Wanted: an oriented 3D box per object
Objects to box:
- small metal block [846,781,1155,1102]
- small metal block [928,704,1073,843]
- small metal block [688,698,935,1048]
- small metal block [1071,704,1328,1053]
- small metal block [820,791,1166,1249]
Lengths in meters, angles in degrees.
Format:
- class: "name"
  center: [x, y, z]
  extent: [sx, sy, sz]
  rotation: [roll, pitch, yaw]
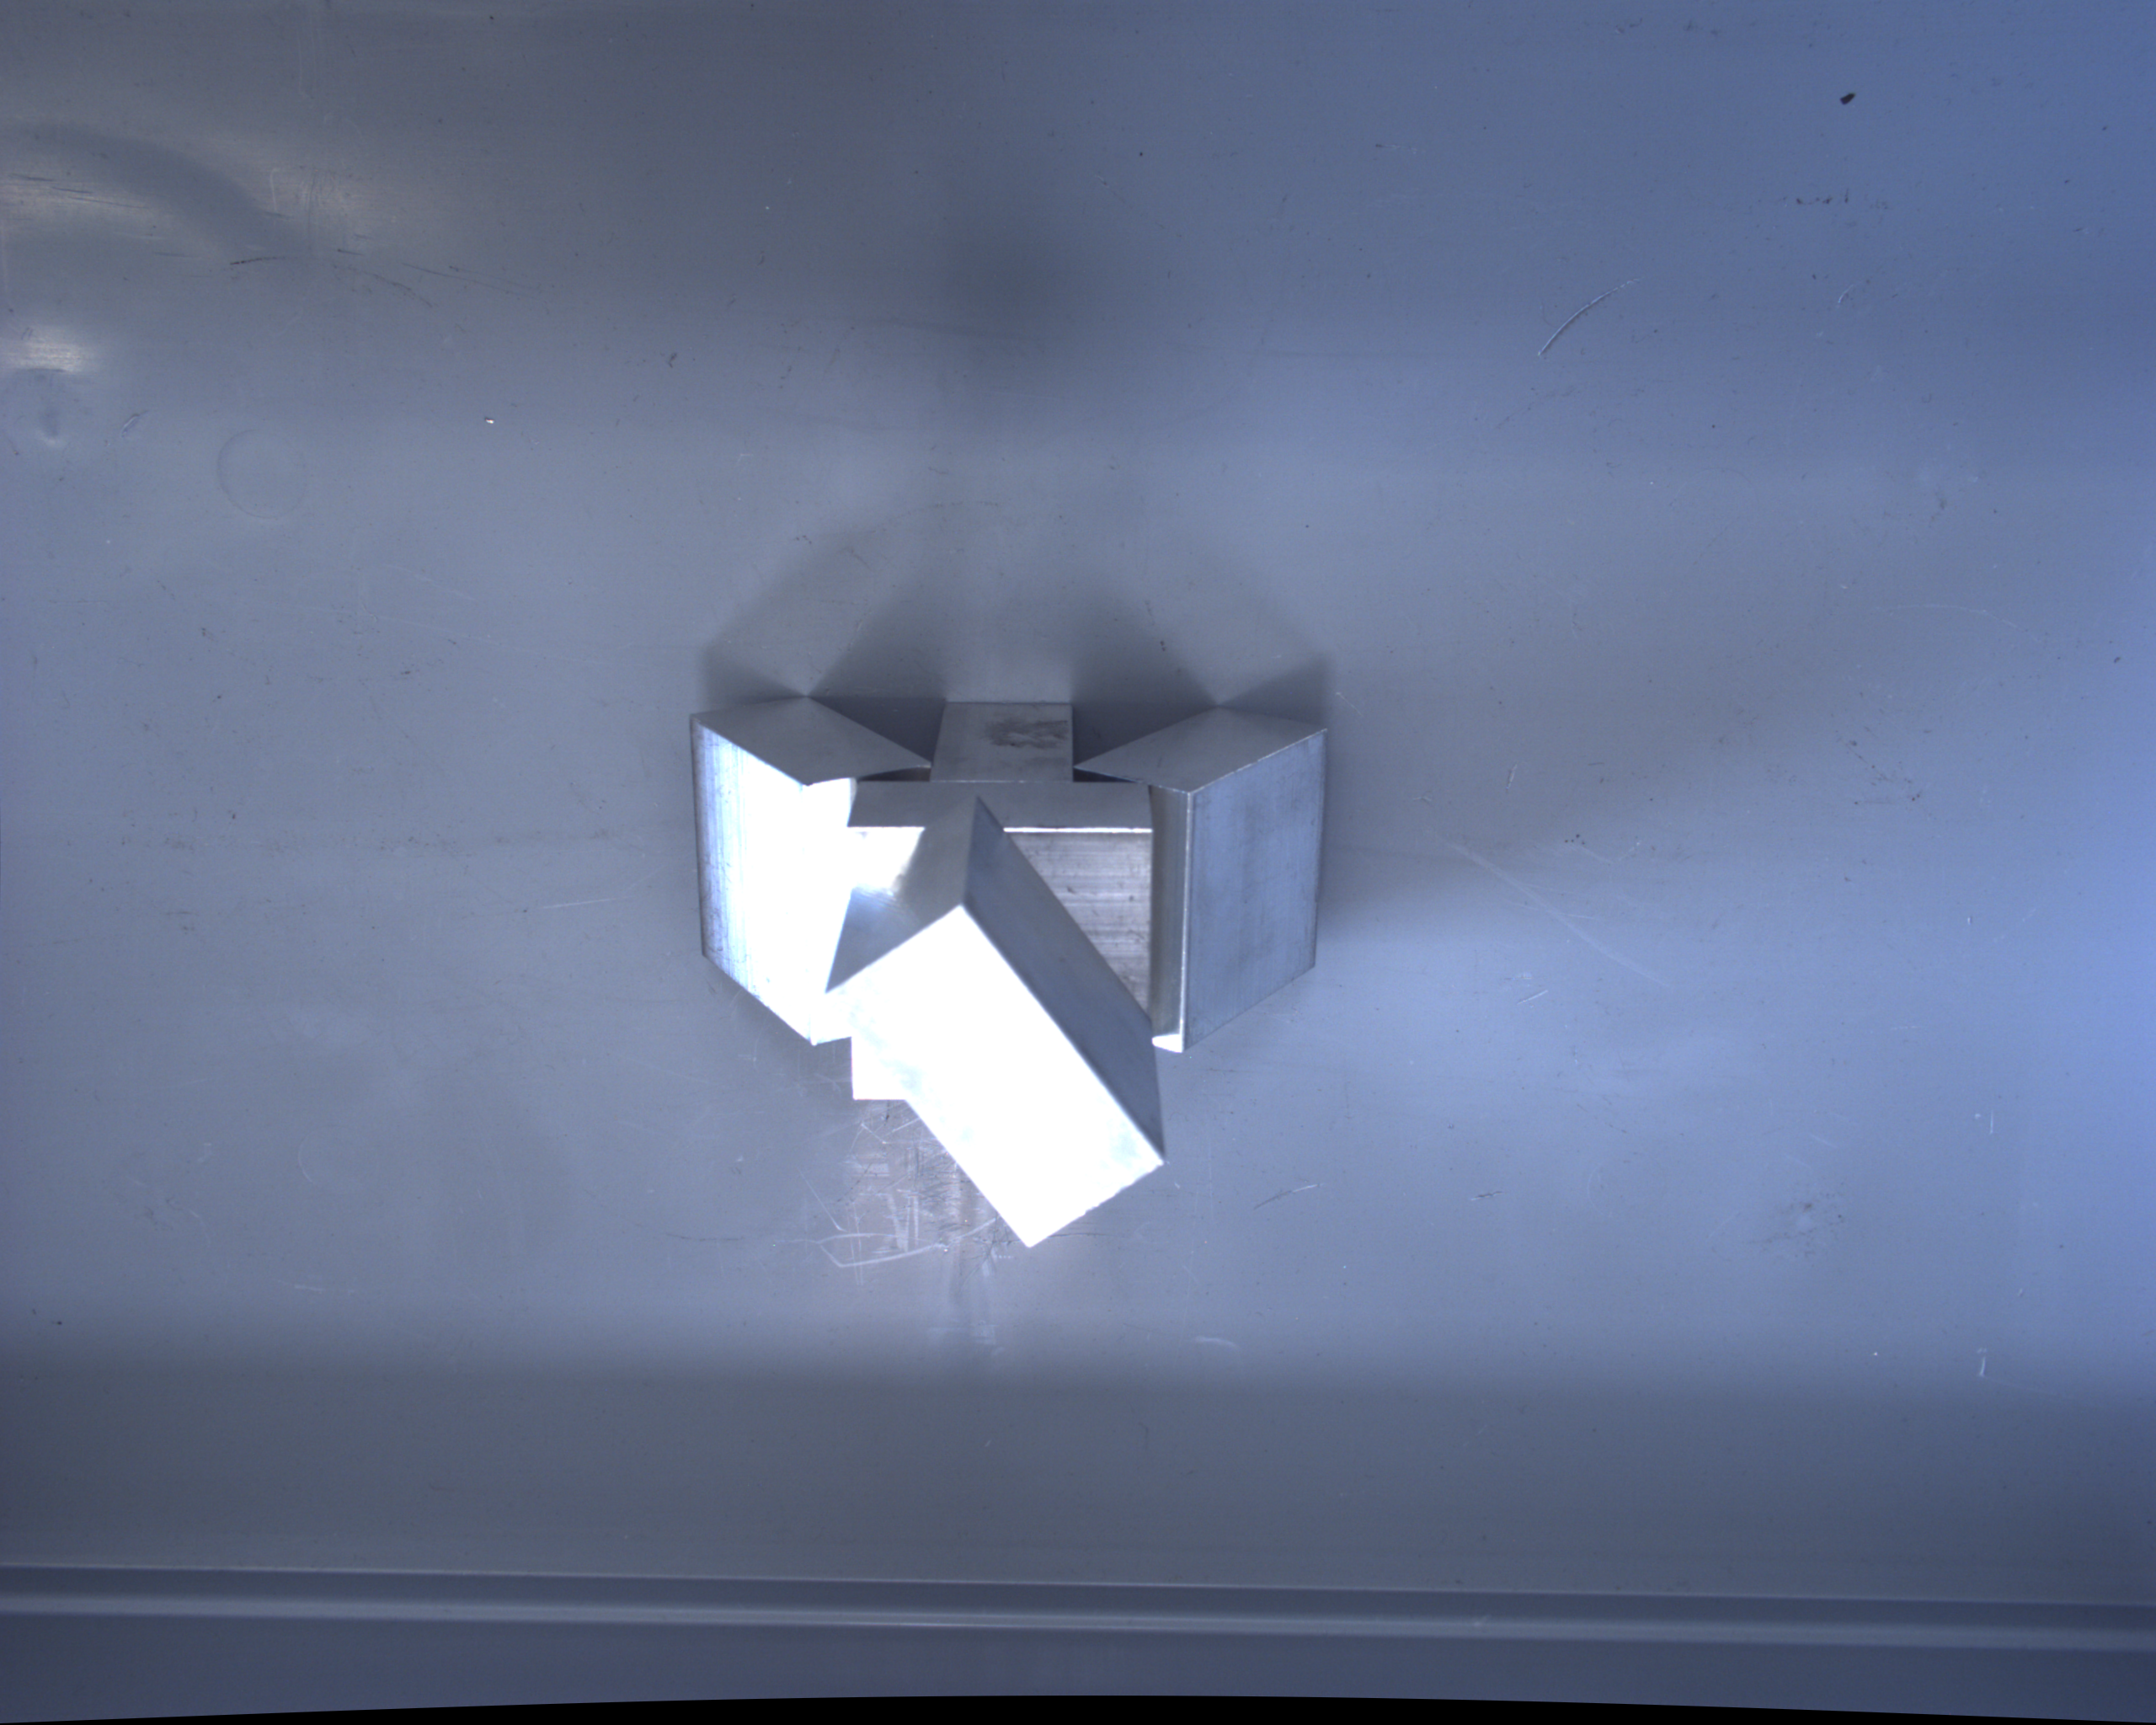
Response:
- class: "small metal block"
  center: [-0.013, 0.014, 0.360]
  extent: [0.050, 0.025, 0.050]
  rotation: [1, 110, -1]
- class: "small metal block"
  center: [-0.014, 0.001, 0.396]
  extent: [0.025, 0.050, 0.050]
  rotation: [1, 110, 0]
- class: "small metal block"
  center: [-0.050, 0.001, 0.393]
  extent: [0.025, 0.050, 0.050]
  rotation: [-12, 114, -32]
- class: "small metal block"
  center: [0.023, 0.002, 0.394]
  extent: [0.025, 0.050, 0.050]
  rotation: [14, 114, 32]
- class: "small metal block"
  center: [-0.012, 0.023, 0.324]
  extent: [0.025, 0.050, 0.050]
  rotation: [-33, 107, 12]
